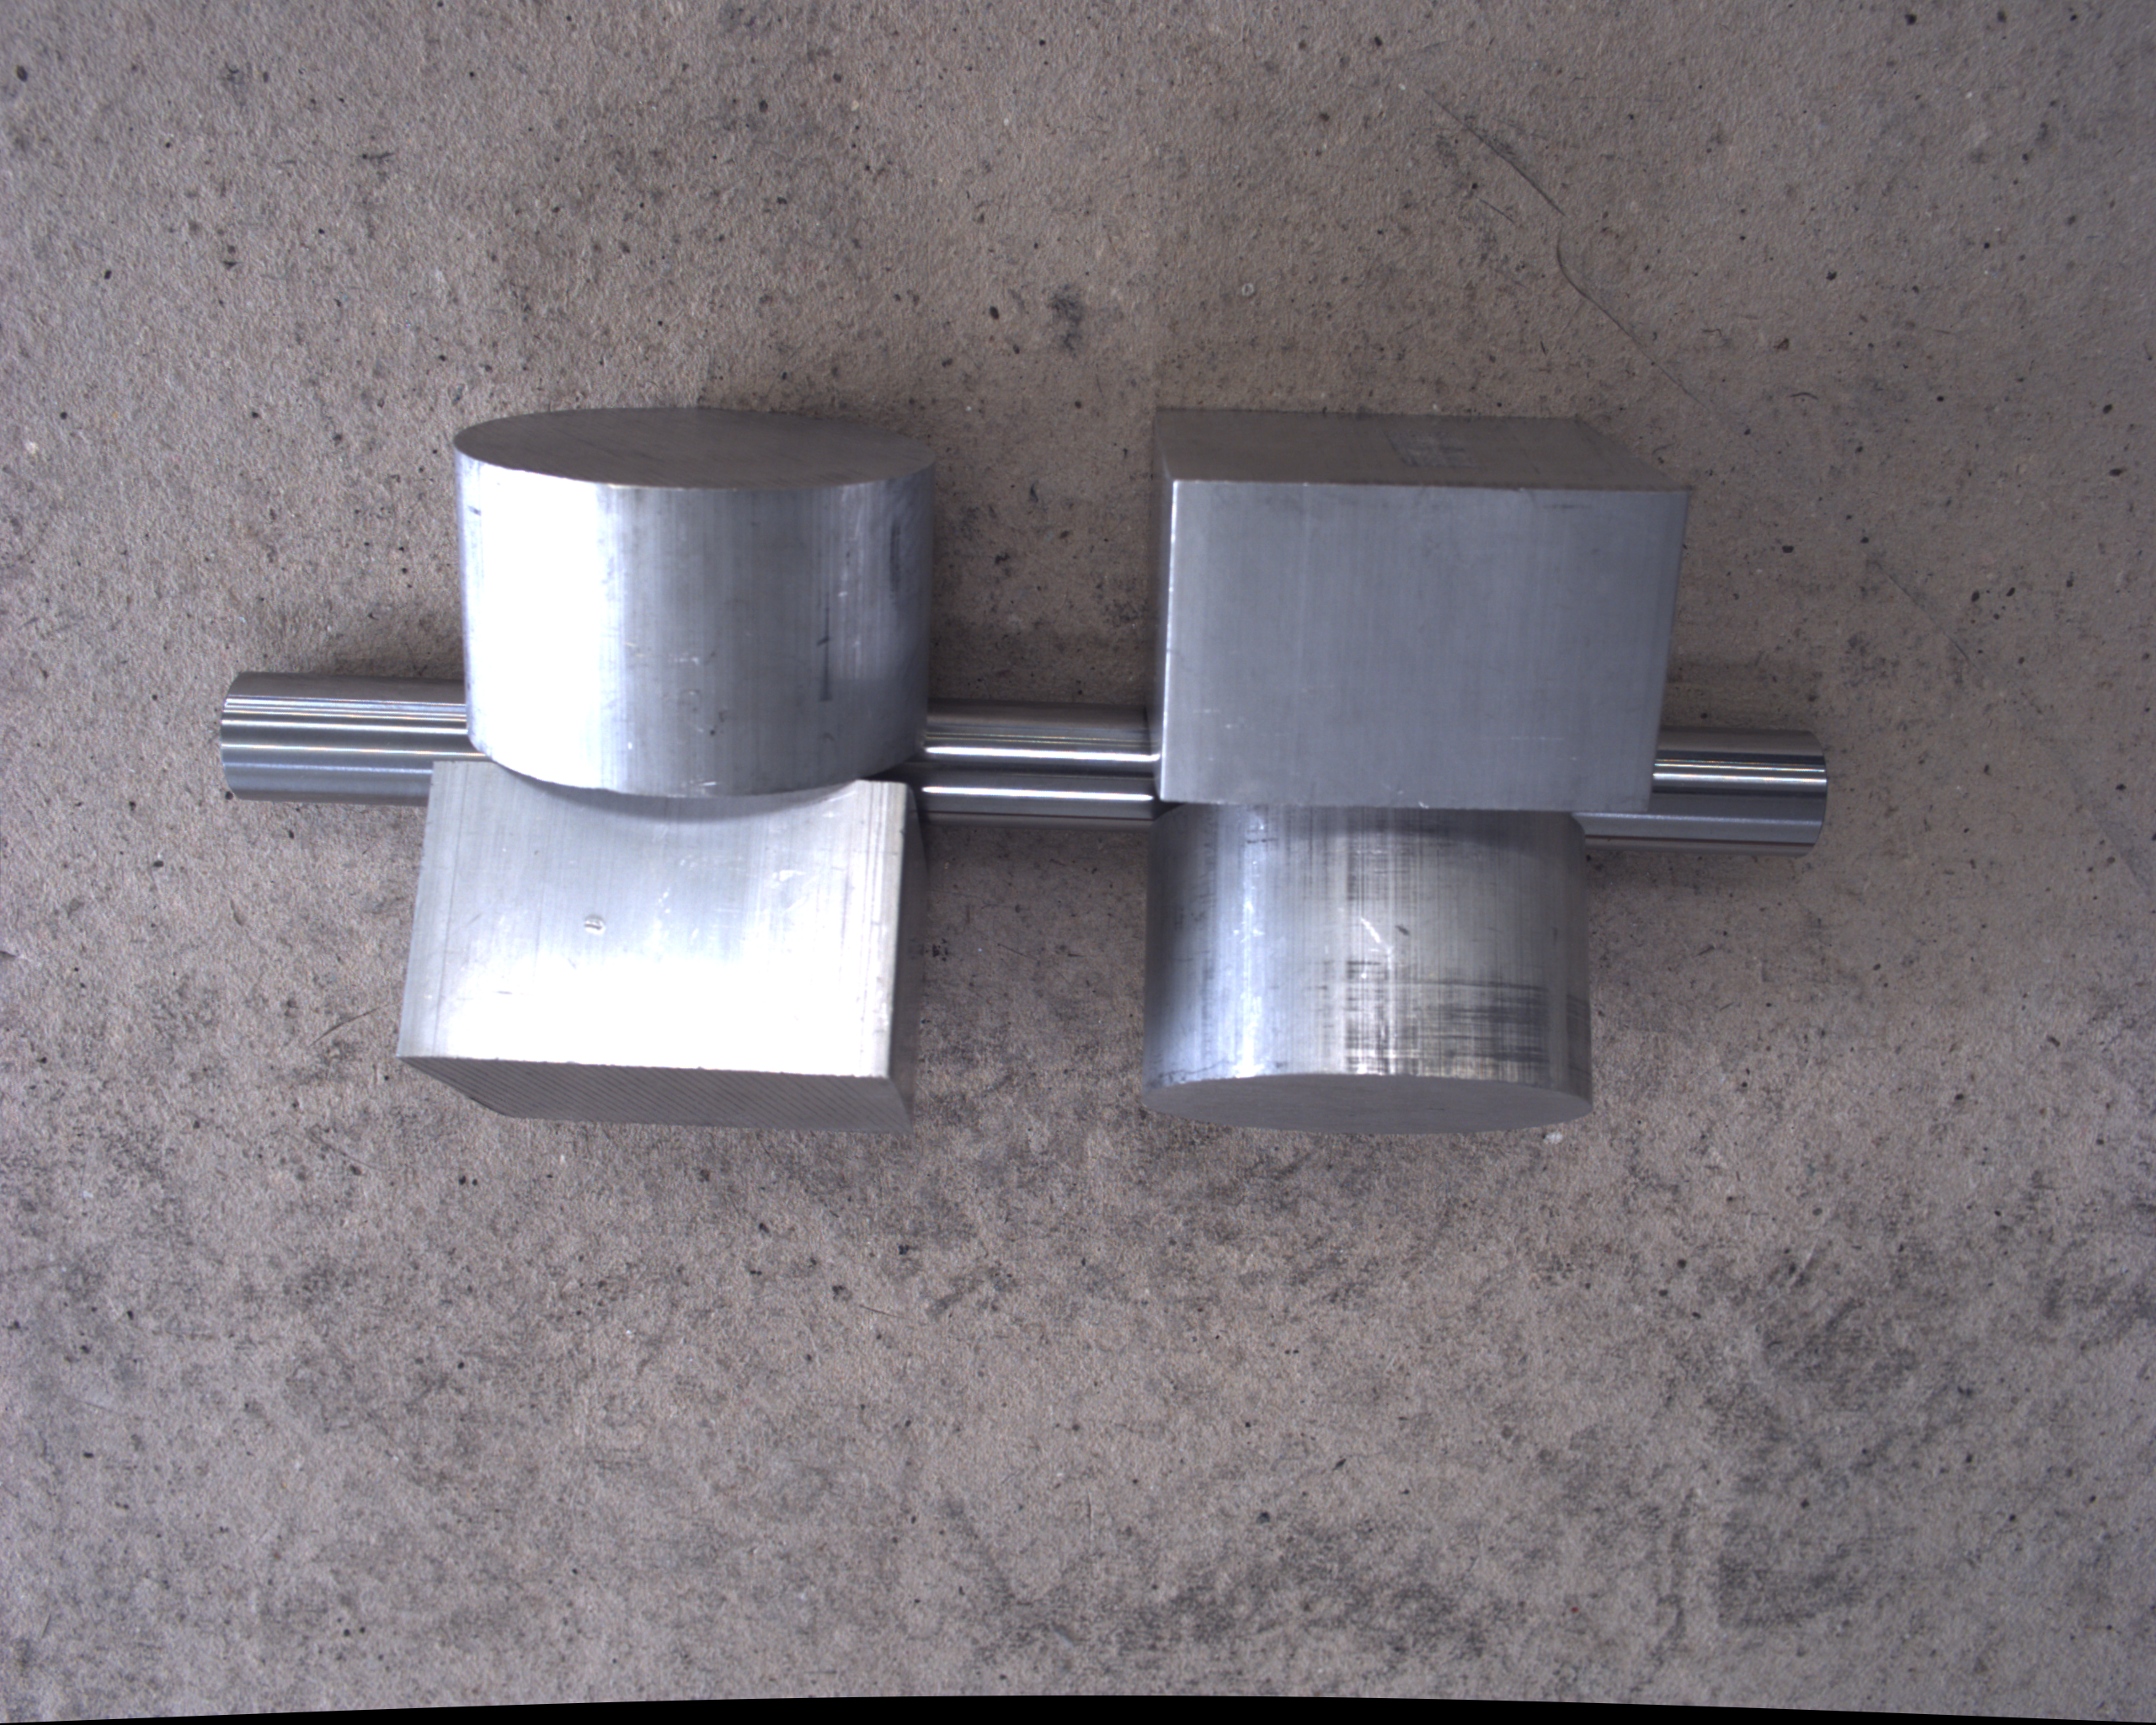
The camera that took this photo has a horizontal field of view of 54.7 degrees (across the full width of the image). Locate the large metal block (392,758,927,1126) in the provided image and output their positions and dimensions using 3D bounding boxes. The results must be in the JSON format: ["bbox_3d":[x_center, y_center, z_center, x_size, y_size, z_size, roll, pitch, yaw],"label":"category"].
[{"bbox_3d":[-0.070,0.018,0.381,0.081,0.080,0.050,2,76,-2],"label":"large metal block"}]

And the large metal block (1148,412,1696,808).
[{"bbox_3d":[0.054,-0.047,0.364,0.081,0.080,0.050,1,110,-1],"label":"large metal block"}]

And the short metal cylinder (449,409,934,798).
[{"bbox_3d":[-0.066,-0.048,0.363,0.081,0.080,0.050,3,110,-2],"label":"short metal cylinder"}]

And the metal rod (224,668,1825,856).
[{"bbox_3d":[-0.009,-0.019,0.406,0.302,0.025,0.025,2,110,-1],"label":"metal rod"}]

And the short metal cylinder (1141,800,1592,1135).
[{"bbox_3d":[0.052,0.020,0.383,0.081,0.080,0.050,2,75,-1],"label":"short metal cylinder"}]
